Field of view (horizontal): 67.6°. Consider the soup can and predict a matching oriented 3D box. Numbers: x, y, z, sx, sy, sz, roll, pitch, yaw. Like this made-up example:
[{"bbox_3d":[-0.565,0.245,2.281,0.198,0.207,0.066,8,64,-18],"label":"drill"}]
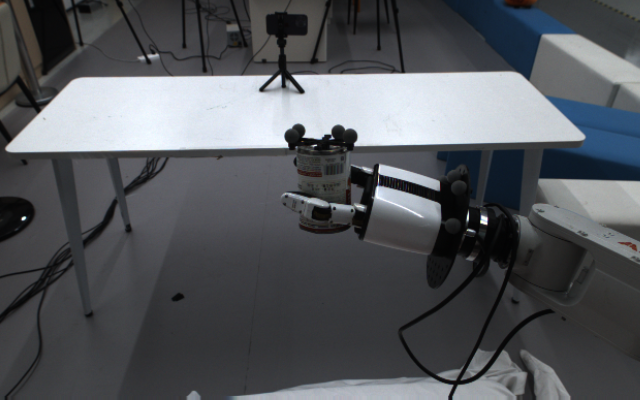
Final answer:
[{"bbox_3d":[0.007,-0.016,0.599,0.067,0.101,0.067,-1,17,0],"label":"soup can"}]
